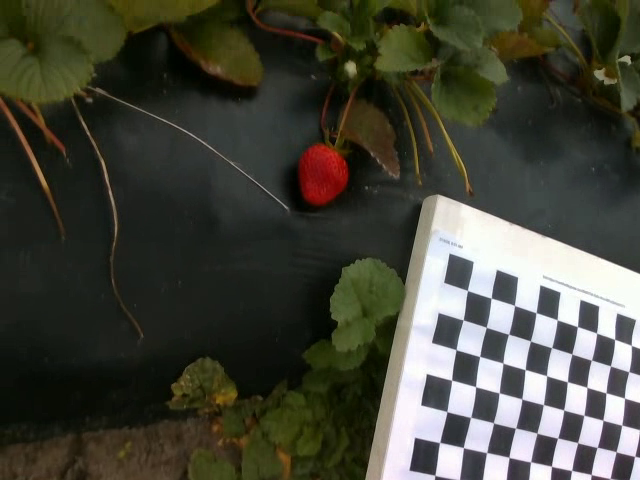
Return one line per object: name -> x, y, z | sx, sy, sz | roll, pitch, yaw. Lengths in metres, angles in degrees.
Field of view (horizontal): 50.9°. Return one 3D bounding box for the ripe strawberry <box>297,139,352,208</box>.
ripe strawberry -> 0.002, -0.030, 0.308 | 0.028, 0.033, 0.022 | 33, -19, -15
